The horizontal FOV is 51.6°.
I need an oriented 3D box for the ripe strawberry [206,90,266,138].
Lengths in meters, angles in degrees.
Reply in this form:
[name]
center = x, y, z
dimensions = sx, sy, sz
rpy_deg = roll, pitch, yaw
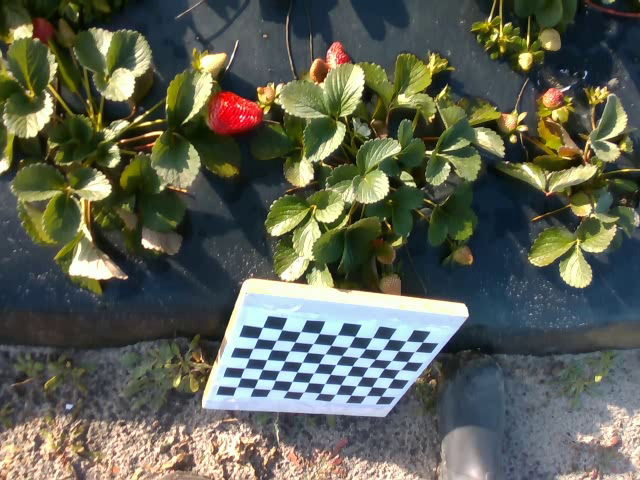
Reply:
[ripe strawberry]
center = -0.093, -0.139, 0.721
dimensions = 0.072, 0.055, 0.057
rpy_deg = -1, -39, 6
